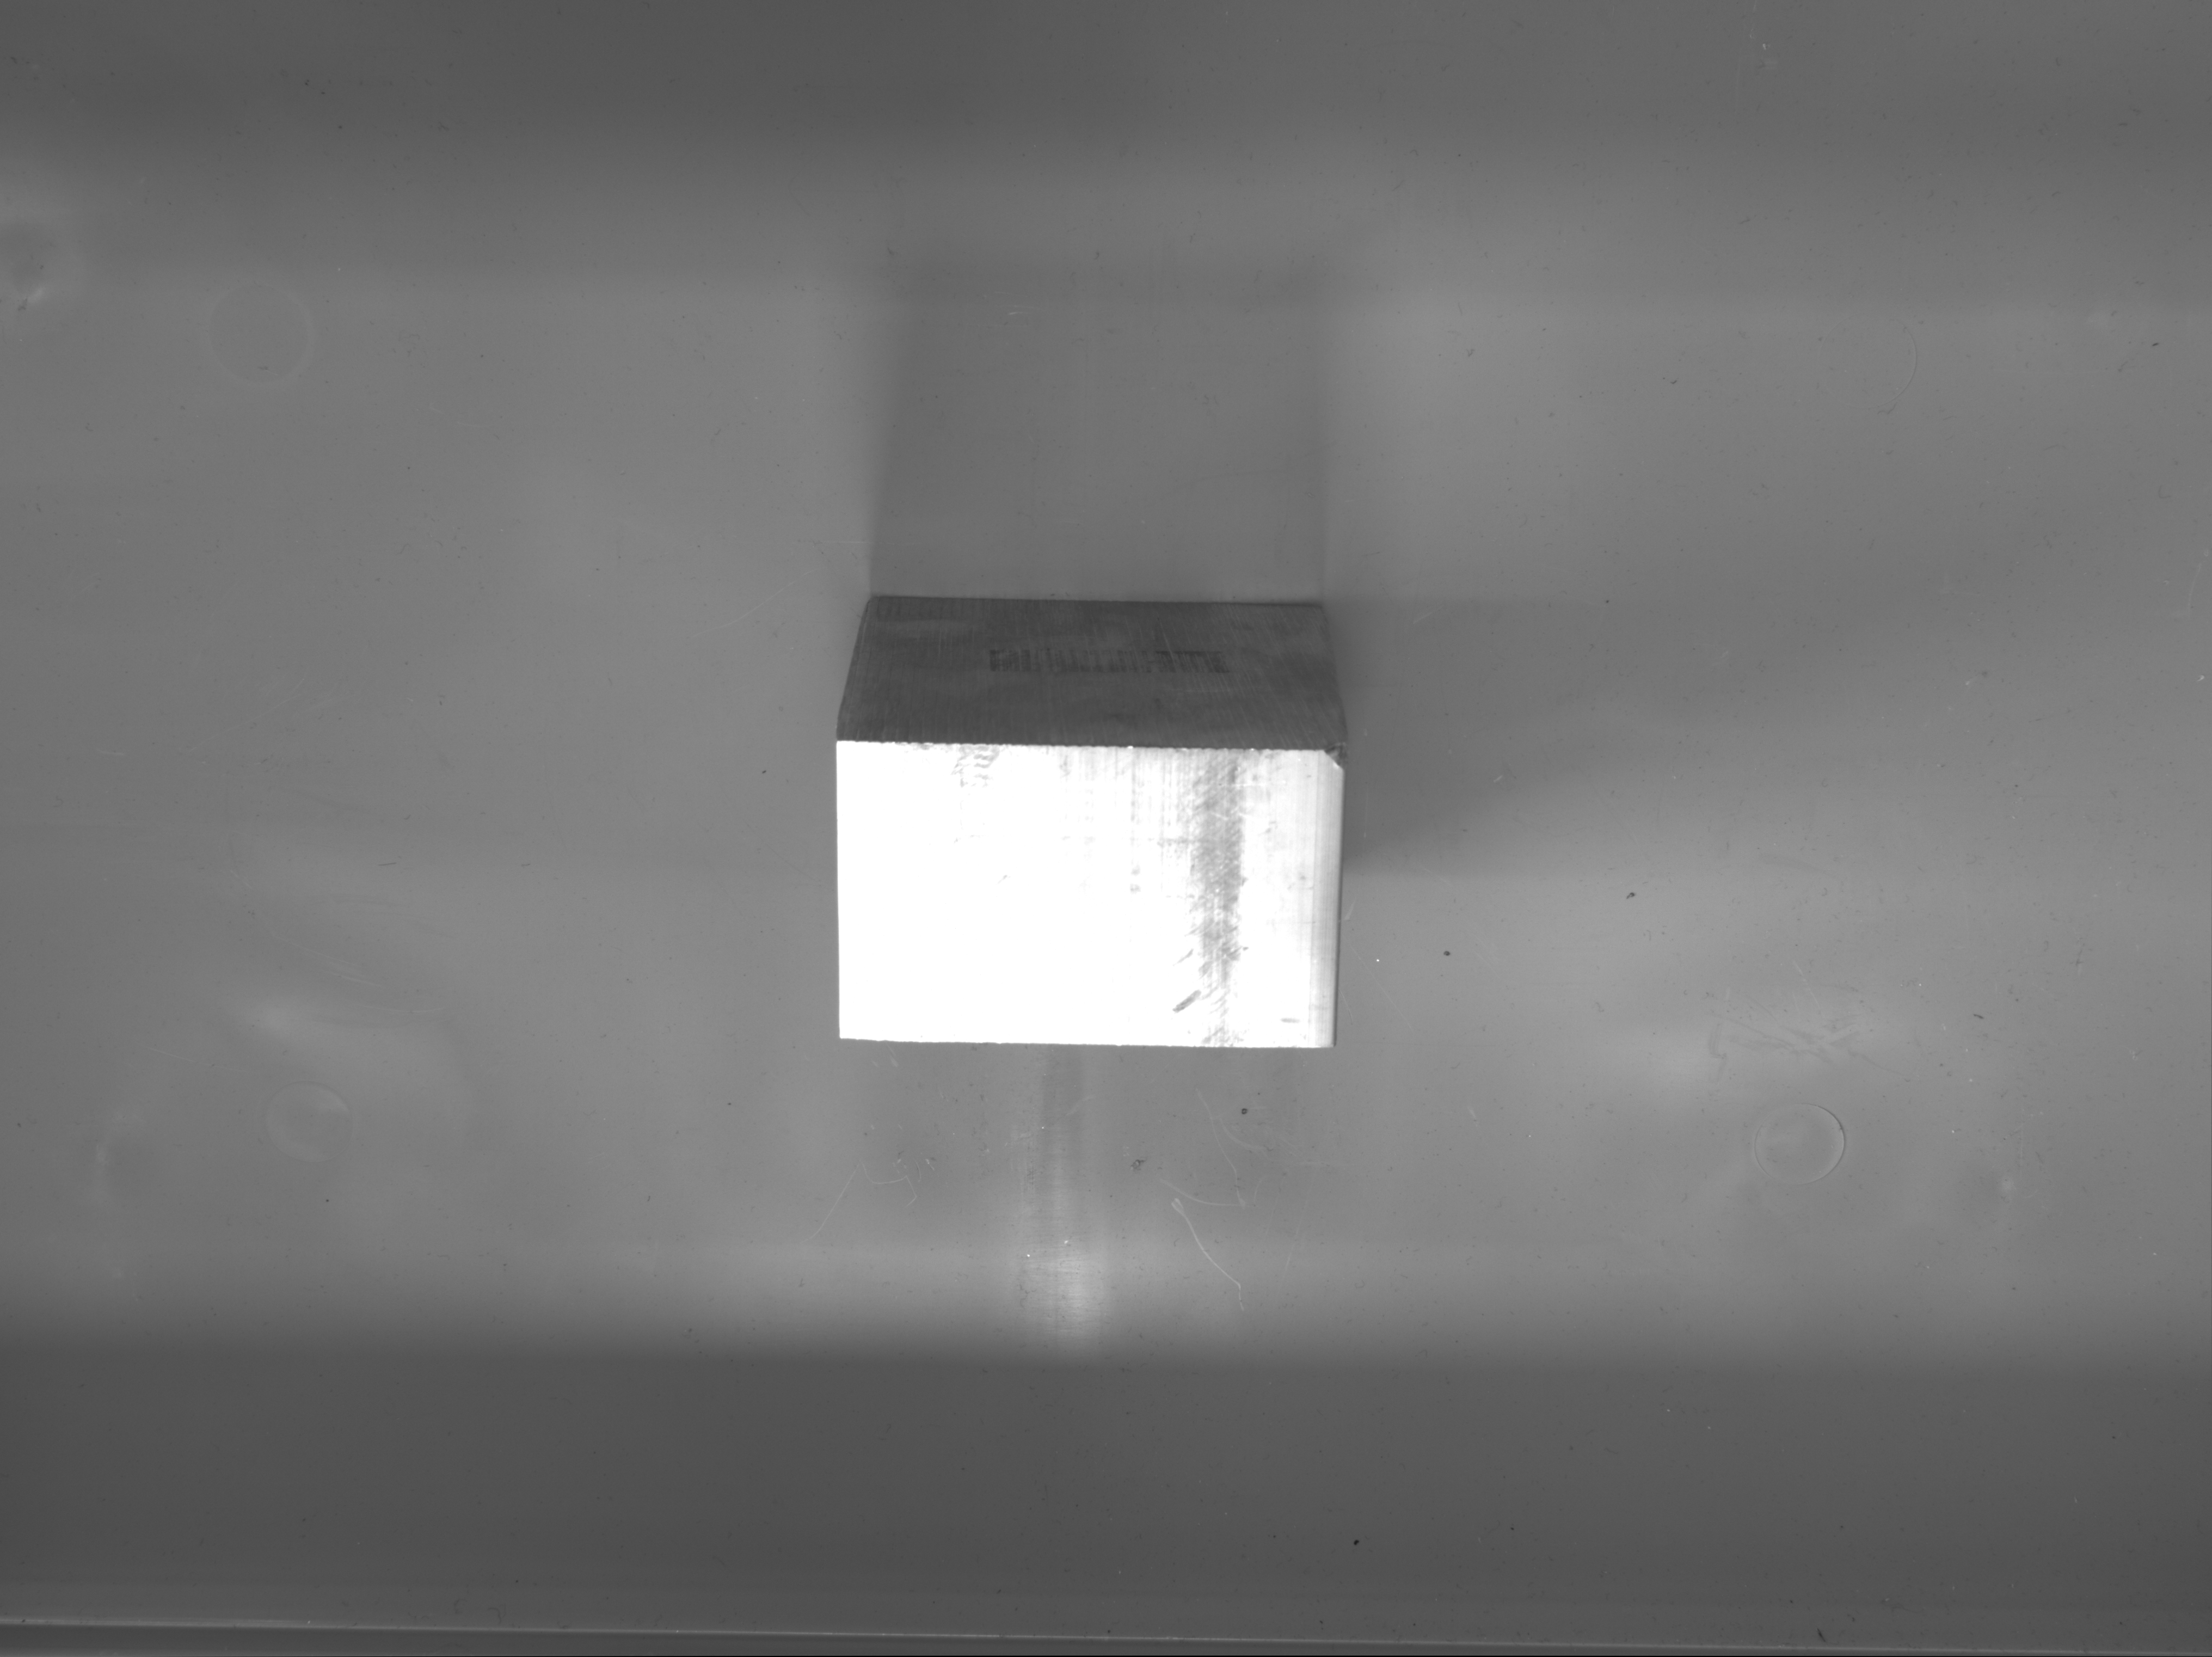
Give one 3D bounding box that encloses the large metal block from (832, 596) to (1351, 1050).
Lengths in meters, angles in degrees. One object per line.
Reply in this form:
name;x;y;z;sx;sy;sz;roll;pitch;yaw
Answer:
large metal block;-0.003;-0.003;0.612;0.080;0.080;0.050;1;110;-1
